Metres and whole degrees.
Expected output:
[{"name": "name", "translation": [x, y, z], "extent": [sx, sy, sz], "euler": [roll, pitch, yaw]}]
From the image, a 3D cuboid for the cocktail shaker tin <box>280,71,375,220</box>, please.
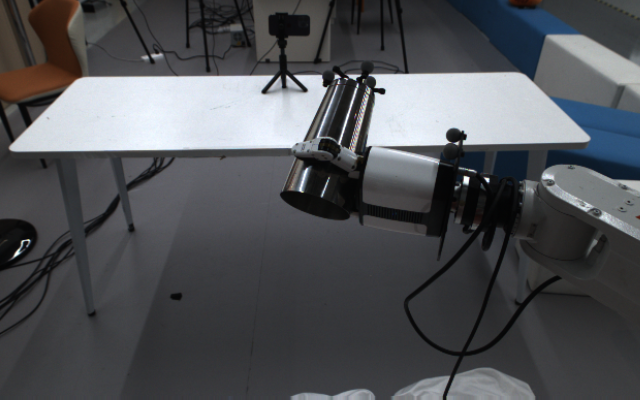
[{"name": "cocktail shaker tin", "translation": [0.017, -0.070, 0.630], "extent": [0.093, 0.093, 0.170], "euler": [14, 72, 16]}]
